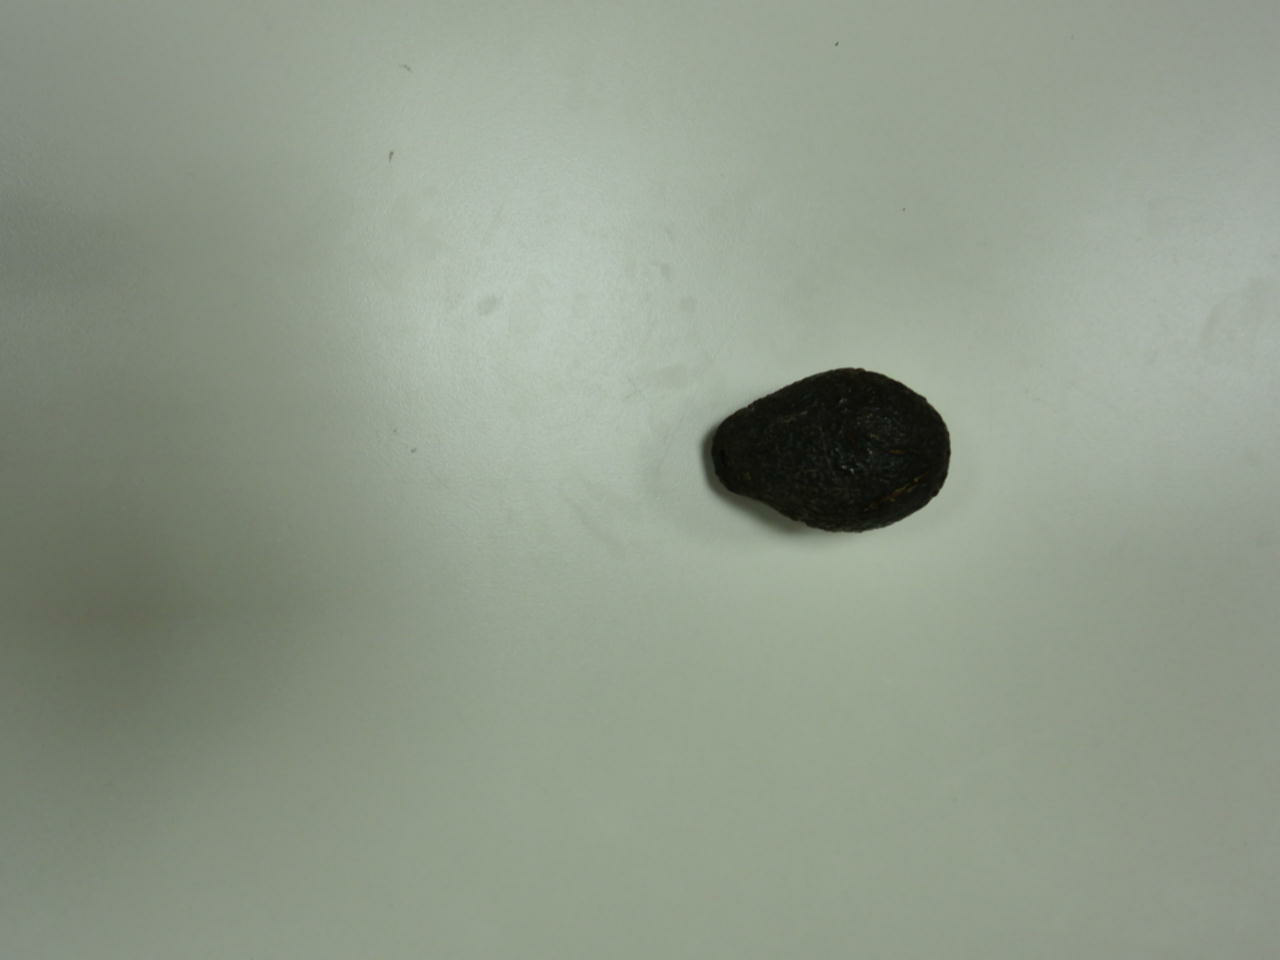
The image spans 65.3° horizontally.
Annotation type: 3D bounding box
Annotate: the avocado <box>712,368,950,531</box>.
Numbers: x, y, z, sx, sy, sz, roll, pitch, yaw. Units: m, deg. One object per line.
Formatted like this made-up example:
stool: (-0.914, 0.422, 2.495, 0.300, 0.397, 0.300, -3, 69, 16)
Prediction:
avocado: (0.082, -0.015, 0.420, 0.090, 0.069, 0.070, 25, 85, -11)
